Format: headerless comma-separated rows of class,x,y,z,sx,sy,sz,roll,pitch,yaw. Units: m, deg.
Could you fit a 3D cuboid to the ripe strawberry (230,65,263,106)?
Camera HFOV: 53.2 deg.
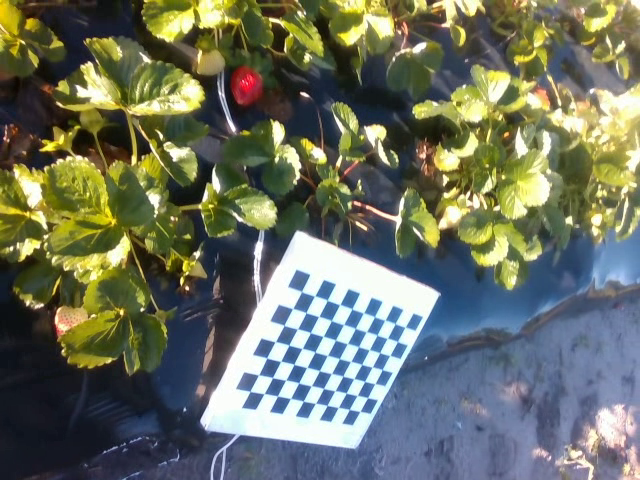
ripe strawberry,-0.100,-0.217,0.900,0.040,0.080,0.063,-9,-46,22
